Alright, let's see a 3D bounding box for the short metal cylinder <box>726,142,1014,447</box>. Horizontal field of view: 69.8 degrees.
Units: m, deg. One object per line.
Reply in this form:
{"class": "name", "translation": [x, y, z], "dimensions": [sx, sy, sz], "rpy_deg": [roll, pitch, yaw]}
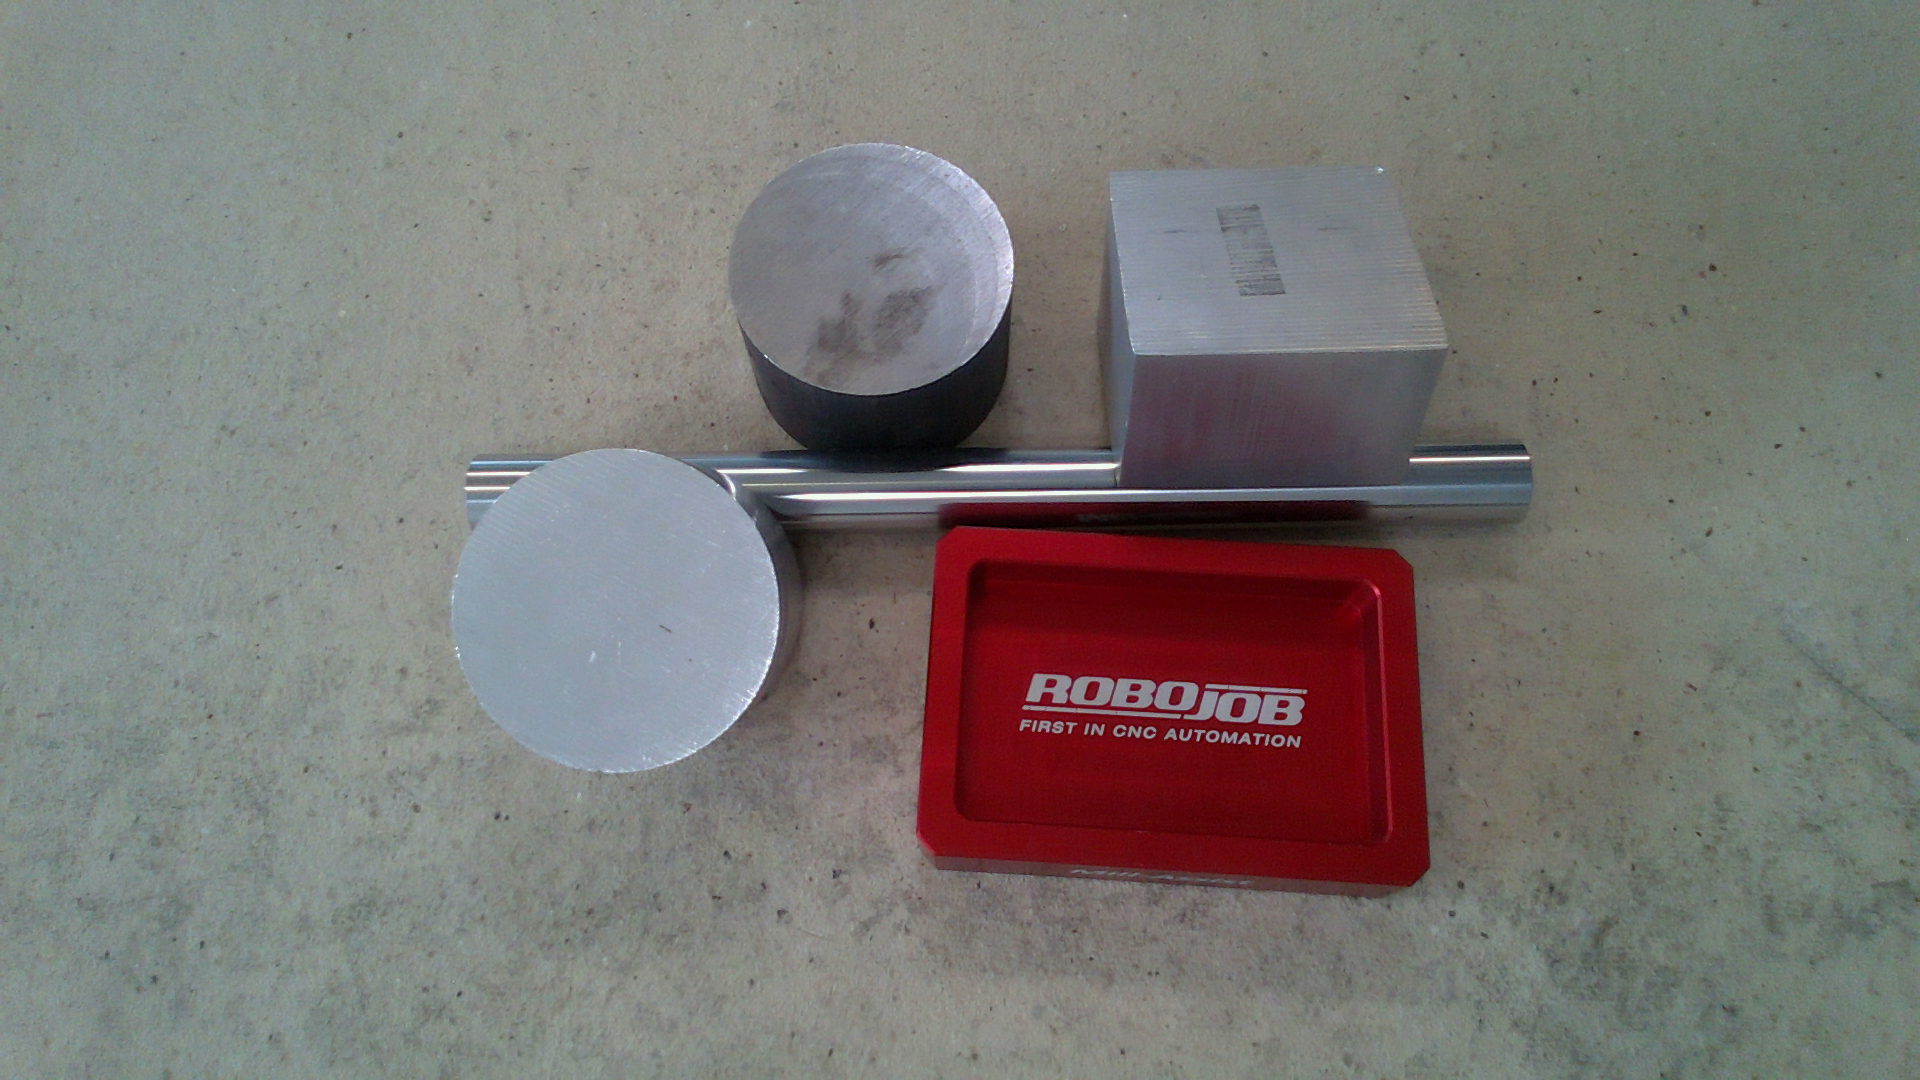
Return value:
{"class": "short metal cylinder", "translation": [-0.025, -0.069, 0.406], "dimensions": [0.080, 0.050, 0.080], "rpy_deg": [0, 69, 0]}

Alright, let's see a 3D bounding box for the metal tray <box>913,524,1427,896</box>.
{"class": "metal tray", "translation": [0.055, 0.046, 0.374], "dimensions": [0.130, 0.030, 0.090], "rpy_deg": [3, 70, 1]}

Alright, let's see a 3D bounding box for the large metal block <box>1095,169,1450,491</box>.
{"class": "large metal block", "translation": [0.083, -0.061, 0.391], "dimensions": [0.080, 0.050, 0.080], "rpy_deg": [-1, 49, 0]}

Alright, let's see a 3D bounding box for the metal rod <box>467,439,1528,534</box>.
{"class": "metal rod", "translation": [0.011, -0.015, 0.401], "dimensions": [0.300, 0.025, 0.025], "rpy_deg": [-1, 70, 0]}

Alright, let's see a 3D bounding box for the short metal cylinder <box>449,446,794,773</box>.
{"class": "short metal cylinder", "translation": [-0.085, 0.017, 0.362], "dimensions": [0.080, 0.050, 0.080], "rpy_deg": [0, 91, -1]}
